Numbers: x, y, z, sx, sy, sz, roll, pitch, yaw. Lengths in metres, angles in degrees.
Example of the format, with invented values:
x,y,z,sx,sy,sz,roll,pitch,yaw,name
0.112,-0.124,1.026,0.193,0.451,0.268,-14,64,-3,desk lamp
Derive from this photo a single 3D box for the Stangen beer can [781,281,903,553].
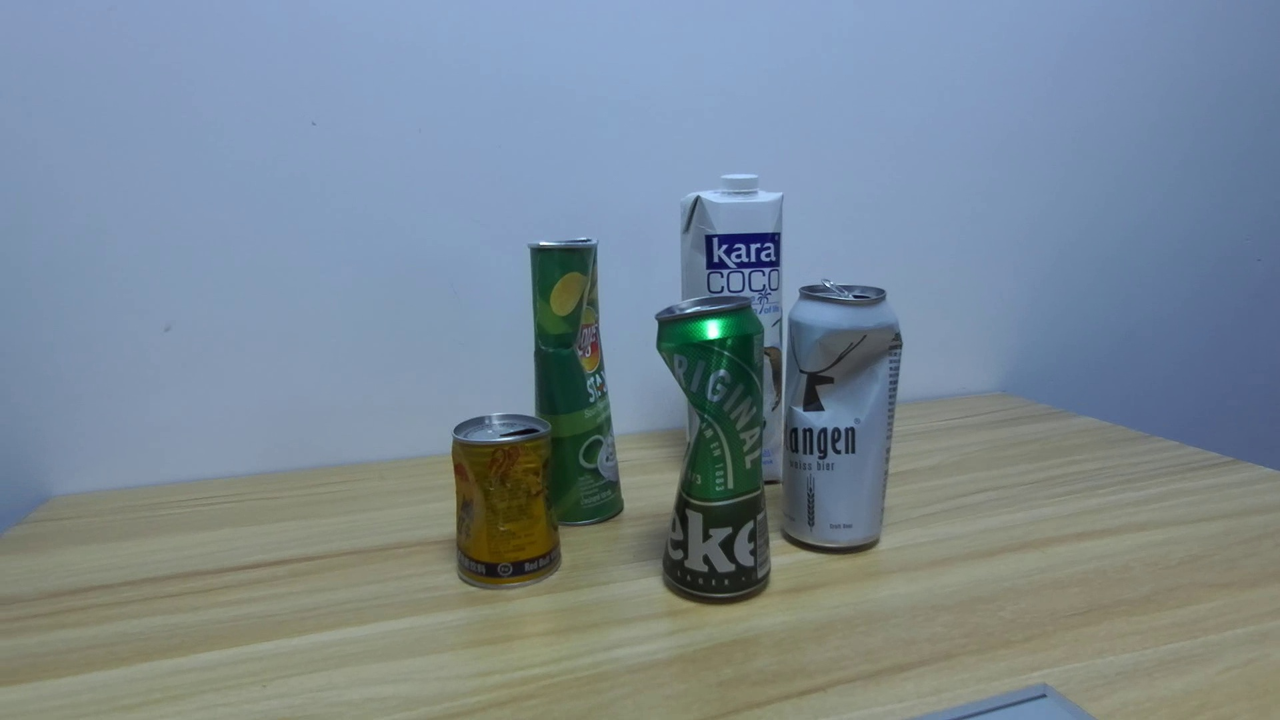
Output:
x,y,z,sx,sy,sz,roll,pitch,yaw,name
0.129,0.037,0.460,0.070,0.173,0.070,9,15,38,Stangen beer can

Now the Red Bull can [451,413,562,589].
x,y,z,sx,sy,sz,roll,pitch,yaw,name
-0.083,0.085,0.440,0.072,0.092,0.072,-1,11,1,Red Bull can

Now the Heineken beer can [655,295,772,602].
x,y,z,sx,sy,sz,roll,pitch,yaw,name
0.041,0.051,0.409,0.069,0.168,0.069,-13,13,-42,Heineken beer can

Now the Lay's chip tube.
x,y,z,sx,sy,sz,roll,pitch,yaw,name
-0.050,0.015,0.519,0.069,0.199,0.074,-7,11,-25,Lay's chip tube

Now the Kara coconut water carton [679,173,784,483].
x,y,z,sx,sy,sz,roll,pitch,yaw,name
0.074,-0.025,0.574,0.077,0.245,0.075,-2,11,-6,Kara coconut water carton
